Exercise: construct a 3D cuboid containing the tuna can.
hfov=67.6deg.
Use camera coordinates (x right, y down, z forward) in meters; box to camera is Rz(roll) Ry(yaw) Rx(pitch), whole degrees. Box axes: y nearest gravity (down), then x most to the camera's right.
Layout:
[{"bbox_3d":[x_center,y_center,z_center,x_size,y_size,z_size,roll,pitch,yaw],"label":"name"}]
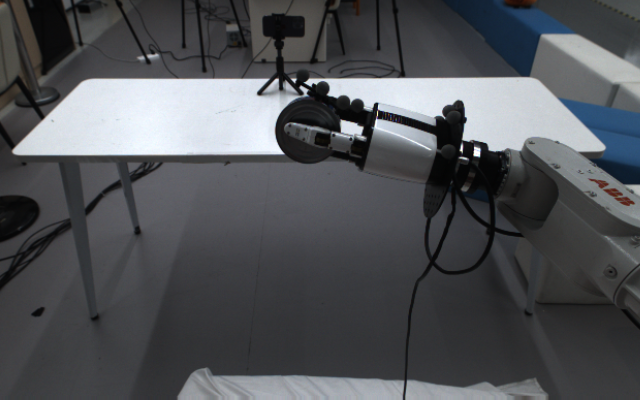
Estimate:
[{"bbox_3d":[-0.014,-0.094,0.643,0.085,0.085,0.034,4,20,3],"label":"tuna can"}]
